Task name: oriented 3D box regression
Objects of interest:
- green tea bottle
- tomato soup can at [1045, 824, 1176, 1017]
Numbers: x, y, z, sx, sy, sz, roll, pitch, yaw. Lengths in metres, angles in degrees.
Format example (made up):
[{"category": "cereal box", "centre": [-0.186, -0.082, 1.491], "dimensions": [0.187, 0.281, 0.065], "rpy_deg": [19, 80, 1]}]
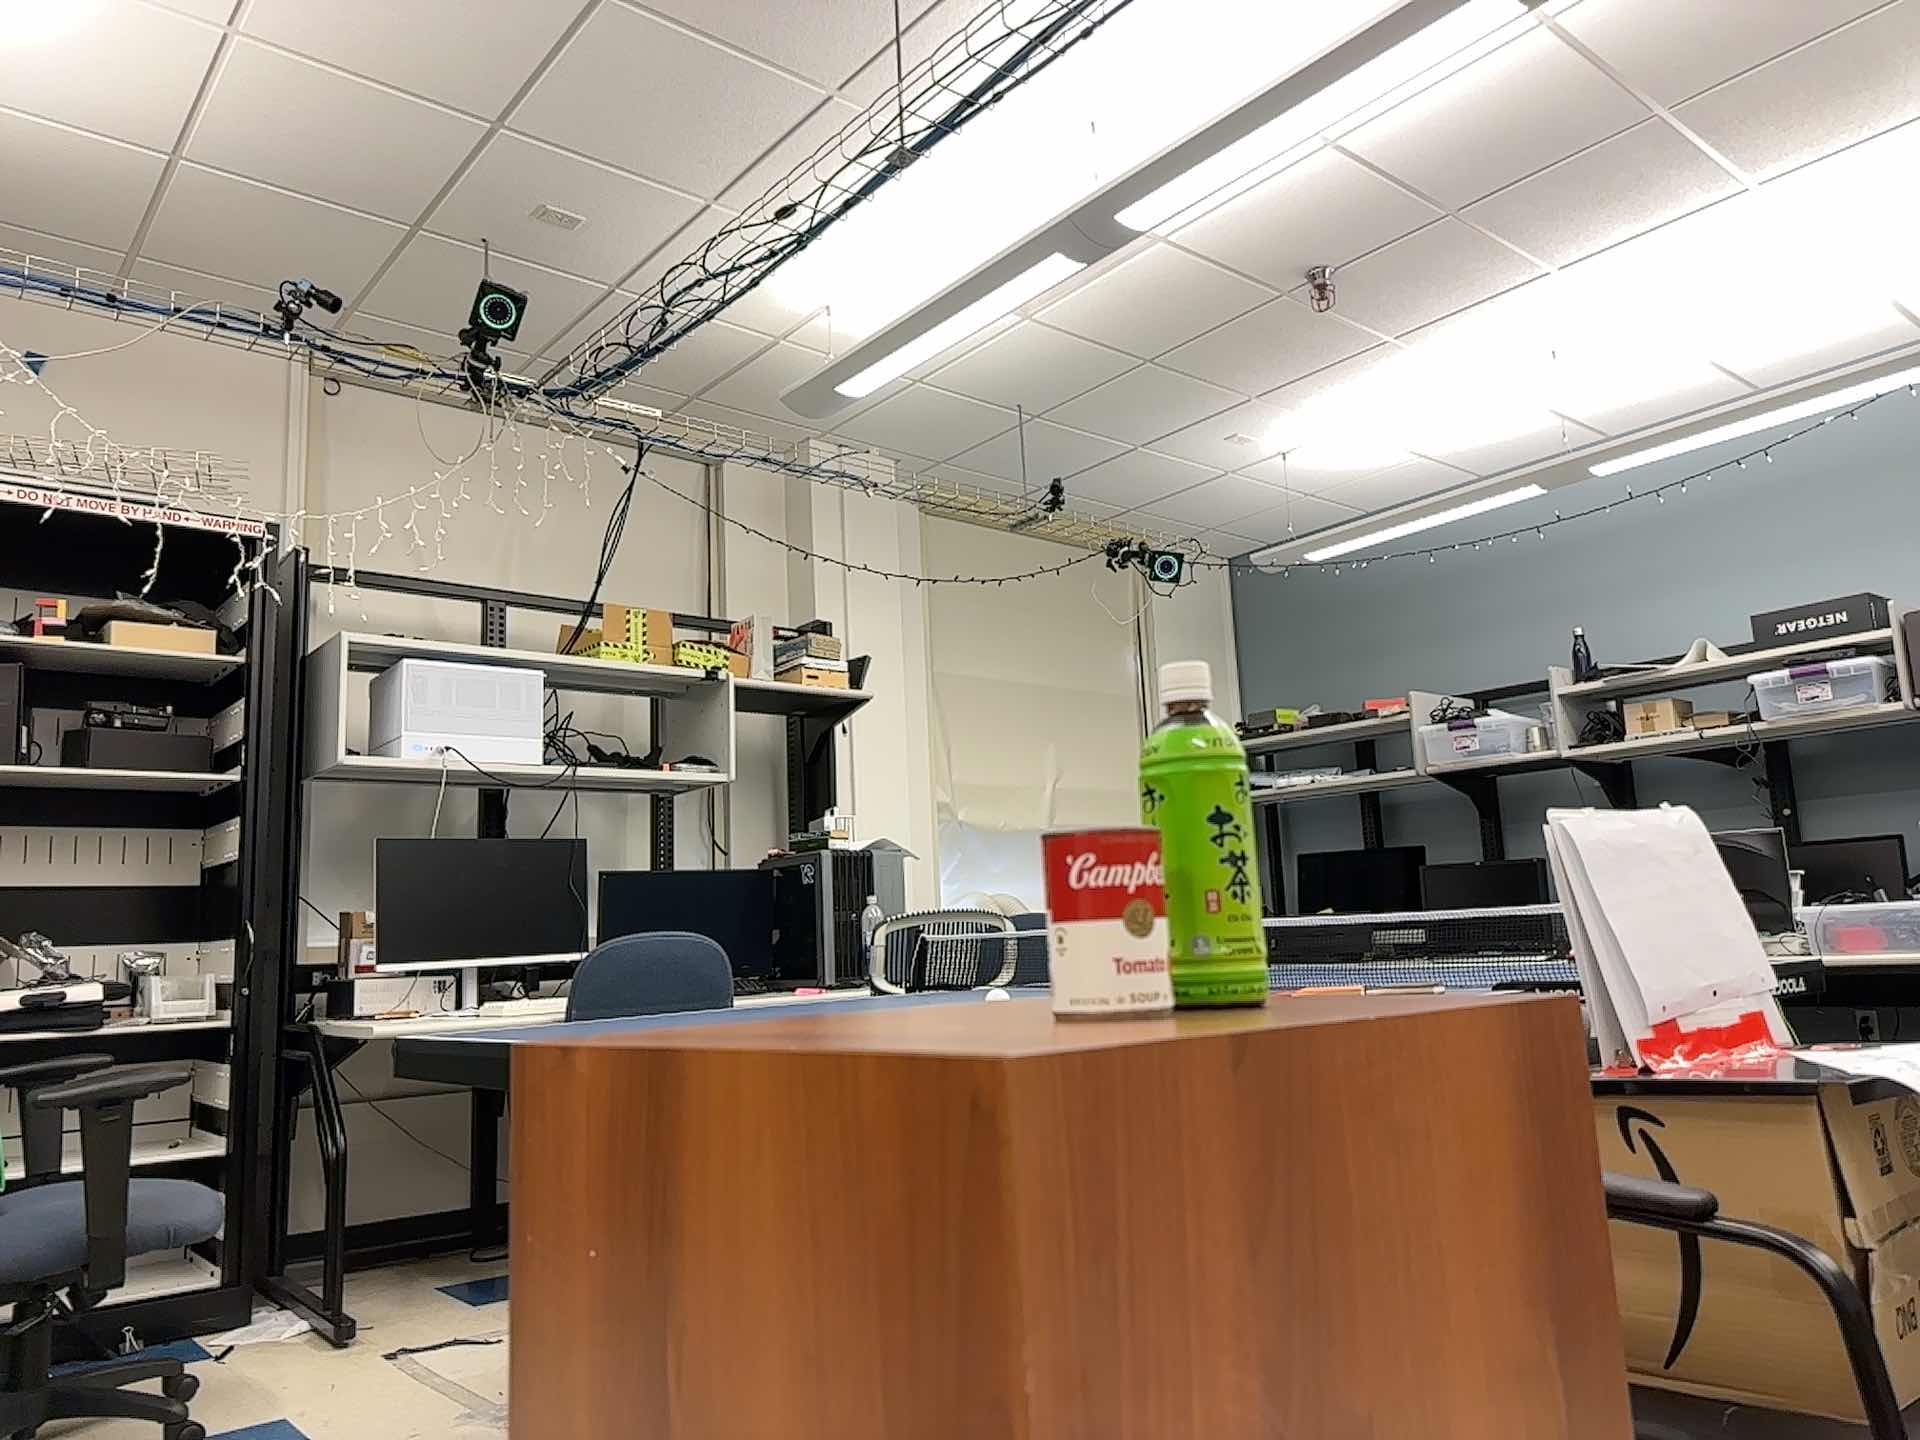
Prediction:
[{"category": "green tea bottle", "centre": [0.146, 0.071, 0.817], "dimensions": [0.073, 0.212, 0.073], "rpy_deg": [-3, -7, 0]}, {"category": "tomato soup can", "centre": [0.082, 0.110, 0.738], "dimensions": [0.067, 0.102, 0.067], "rpy_deg": [-1, -9, 0]}]
